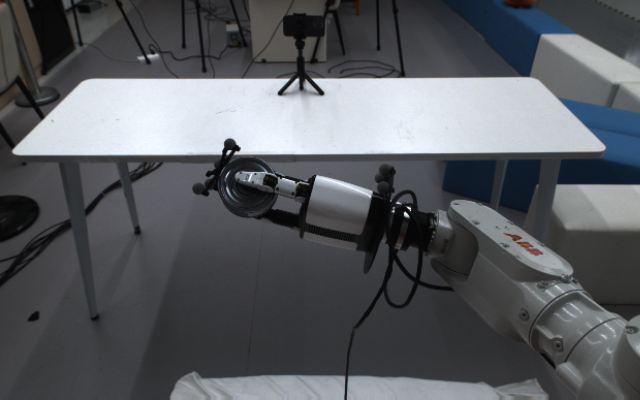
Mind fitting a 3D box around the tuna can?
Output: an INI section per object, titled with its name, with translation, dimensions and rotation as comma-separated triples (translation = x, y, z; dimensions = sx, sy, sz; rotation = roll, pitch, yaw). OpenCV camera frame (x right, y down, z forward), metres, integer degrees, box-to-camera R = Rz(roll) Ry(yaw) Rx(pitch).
[tuna can]
translation = -0.100, -0.015, 0.694
dimensions = 0.085, 0.034, 0.085
rotation = 1, 77, -5
